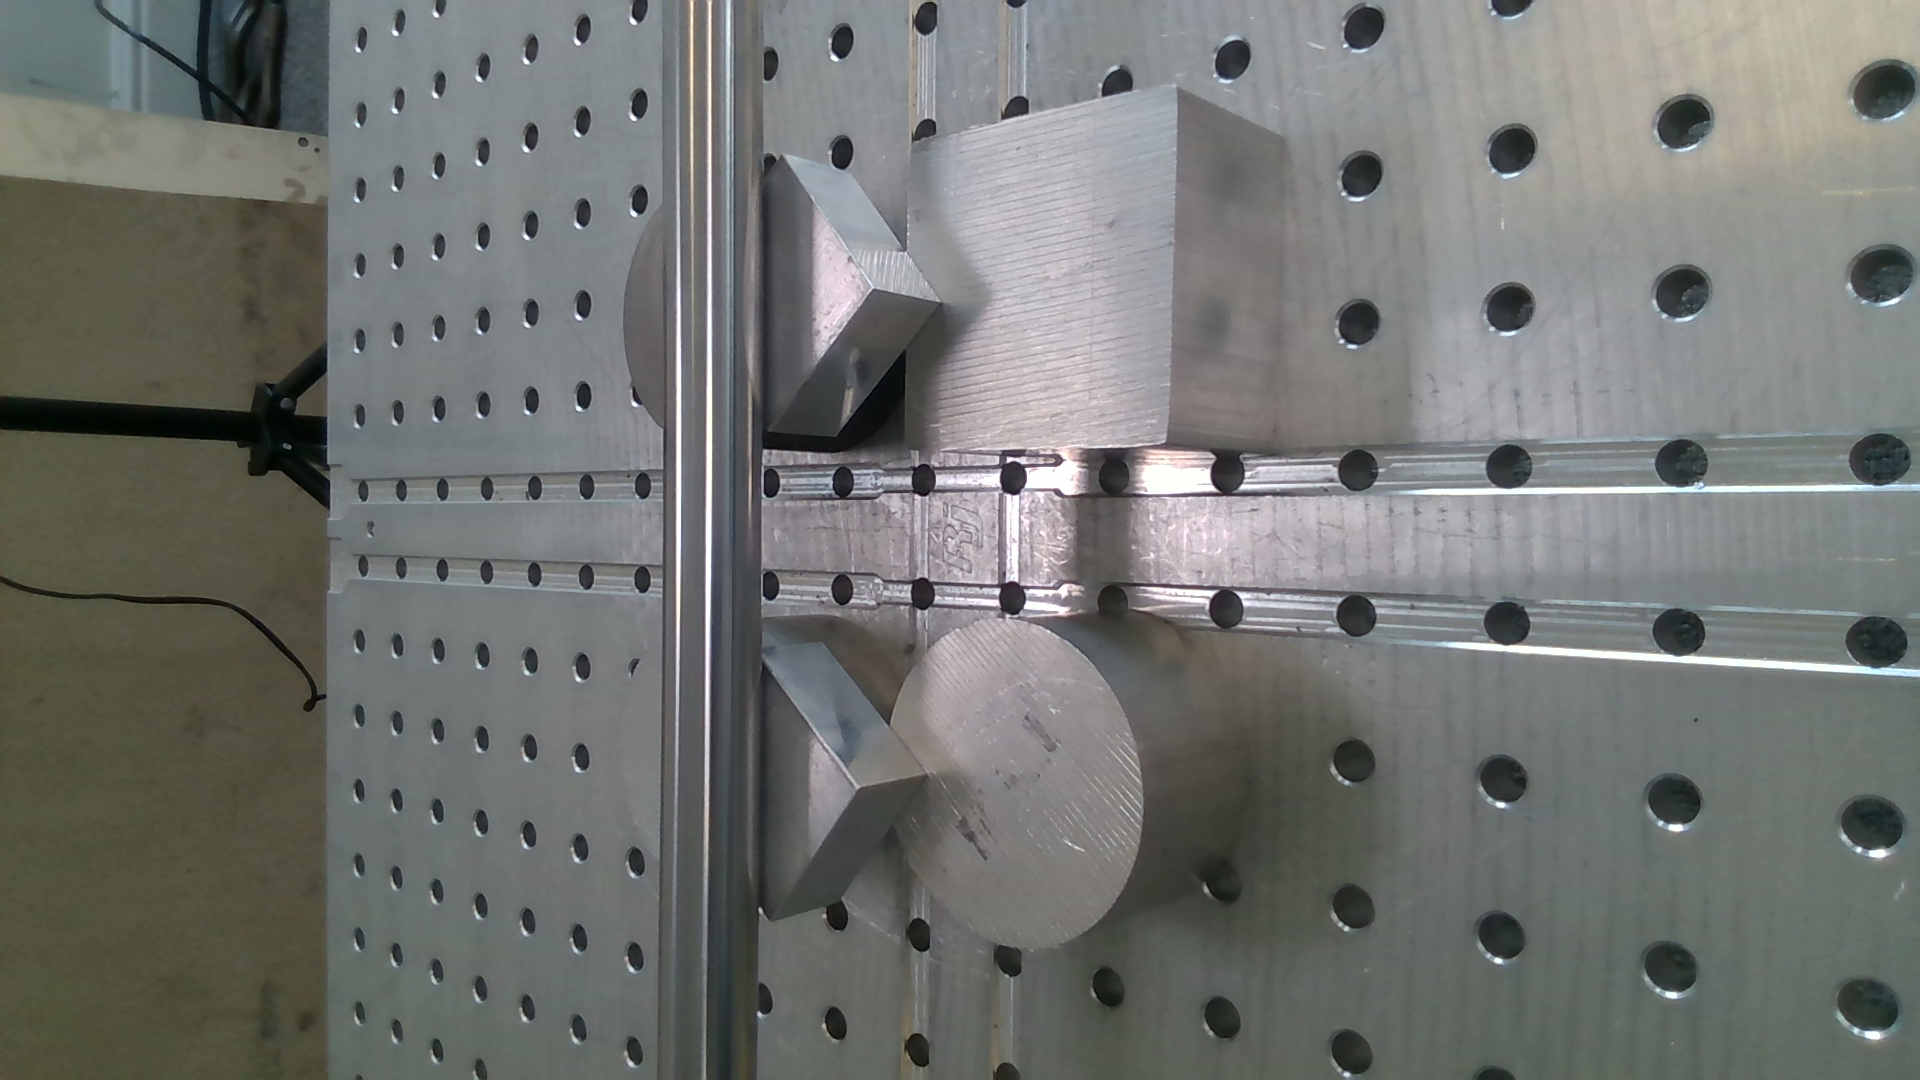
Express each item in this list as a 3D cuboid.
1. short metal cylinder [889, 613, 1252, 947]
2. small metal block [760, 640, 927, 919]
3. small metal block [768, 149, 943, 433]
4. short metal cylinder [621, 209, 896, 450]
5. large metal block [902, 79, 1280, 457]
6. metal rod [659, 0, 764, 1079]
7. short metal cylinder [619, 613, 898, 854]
[{"bbox_3d":[0.027,0.059,0.355,0.080,0.050,0.080,0,91,40],"label":"short metal cylinder"},{"bbox_3d":[-0.043,0.063,0.366,0.050,0.025,0.050,48,119,29],"label":"small metal block"},{"bbox_3d":[-0.039,-0.064,0.361,0.050,0.025,0.050,-48,62,30],"label":"small metal block"},{"bbox_3d":[-0.060,-0.069,0.426,0.080,0.050,0.080,0,91,40],"label":"short metal cylinder"},{"bbox_3d":[0.032,-0.062,0.349,0.080,0.050,0.080,2,91,40],"label":"large metal block"},{"bbox_3d":[-0.063,-0.013,0.348,0.025,0.025,0.300,1,91,40],"label":"metal rod"},{"bbox_3d":[-0.062,0.064,0.430,0.080,0.050,0.080,0,91,40],"label":"short metal cylinder"}]
